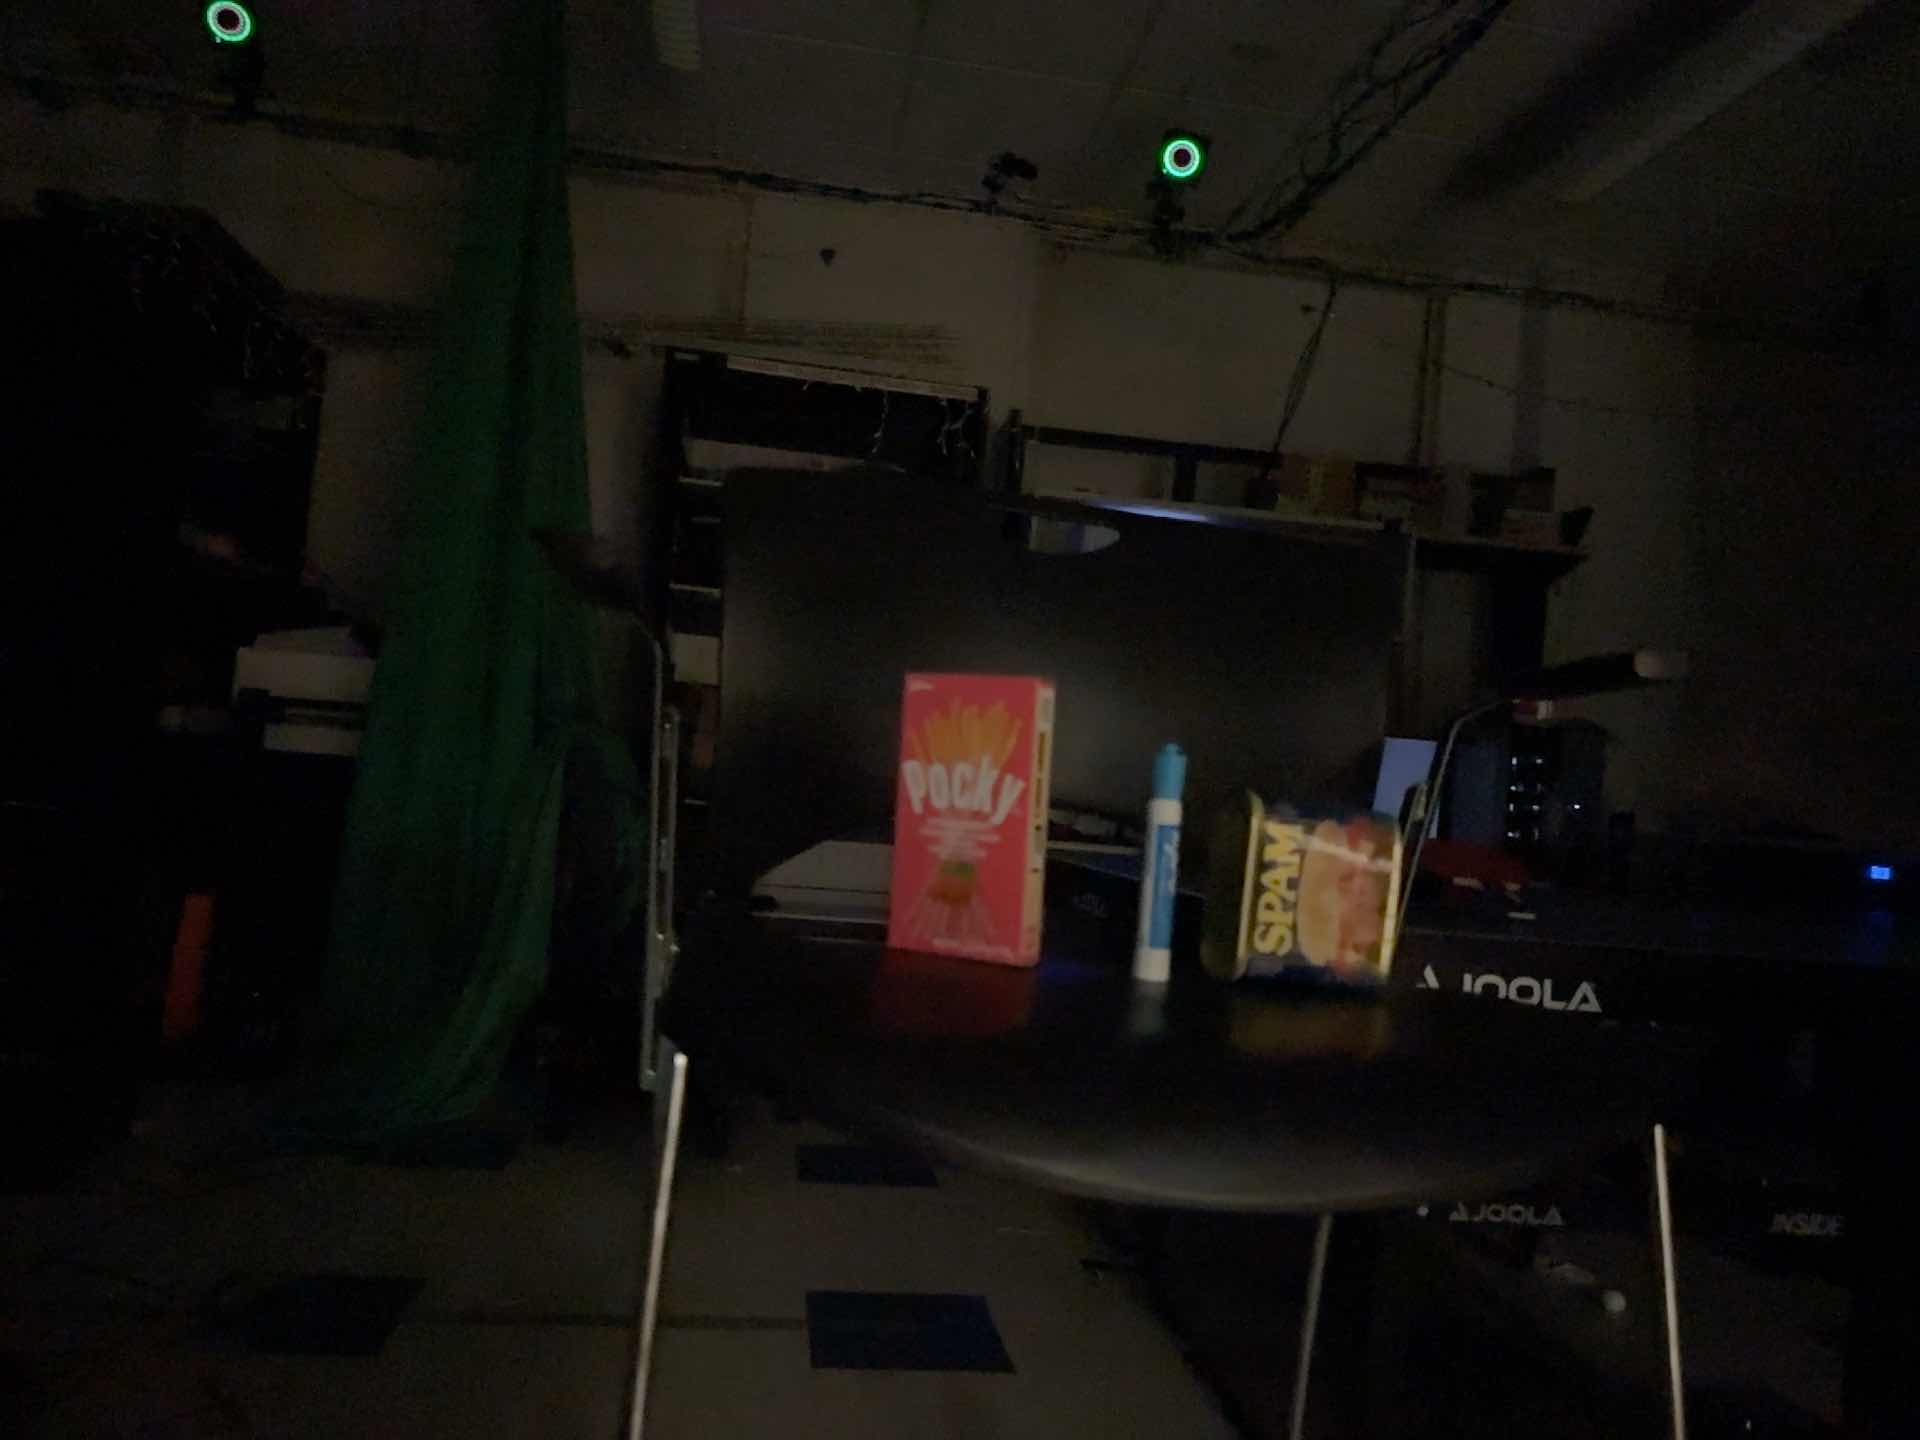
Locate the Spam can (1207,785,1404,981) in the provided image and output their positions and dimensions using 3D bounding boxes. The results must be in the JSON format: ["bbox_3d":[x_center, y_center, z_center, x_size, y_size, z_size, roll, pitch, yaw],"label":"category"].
[{"bbox_3d":[0.189,0.090,0.734,0.083,0.100,0.056,7,-1,-14],"label":"Spam can"}]

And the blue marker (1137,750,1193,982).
[{"bbox_3d":[0.108,0.076,0.708,0.020,0.121,0.020,5,1,0],"label":"blue marker"}]

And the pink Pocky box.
[{"bbox_3d":[0.007,0.051,0.731,0.084,0.155,0.029,3,0,28],"label":"pink Pocky box"}]
